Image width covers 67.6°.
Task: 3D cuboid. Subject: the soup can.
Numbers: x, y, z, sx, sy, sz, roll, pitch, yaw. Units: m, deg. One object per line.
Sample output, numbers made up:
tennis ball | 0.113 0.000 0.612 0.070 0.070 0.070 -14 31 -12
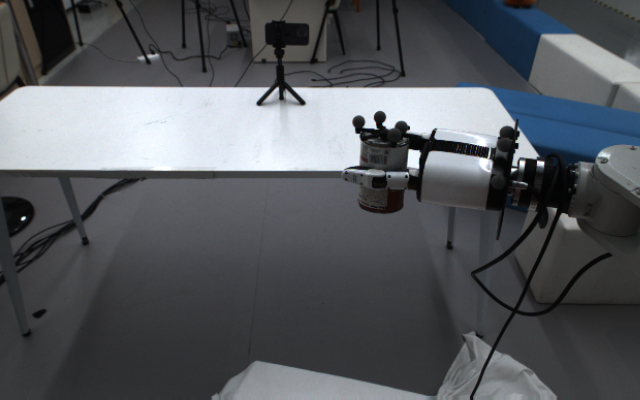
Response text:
soup can | 0.089 -0.041 0.681 0.067 0.101 0.067 1 26 0
